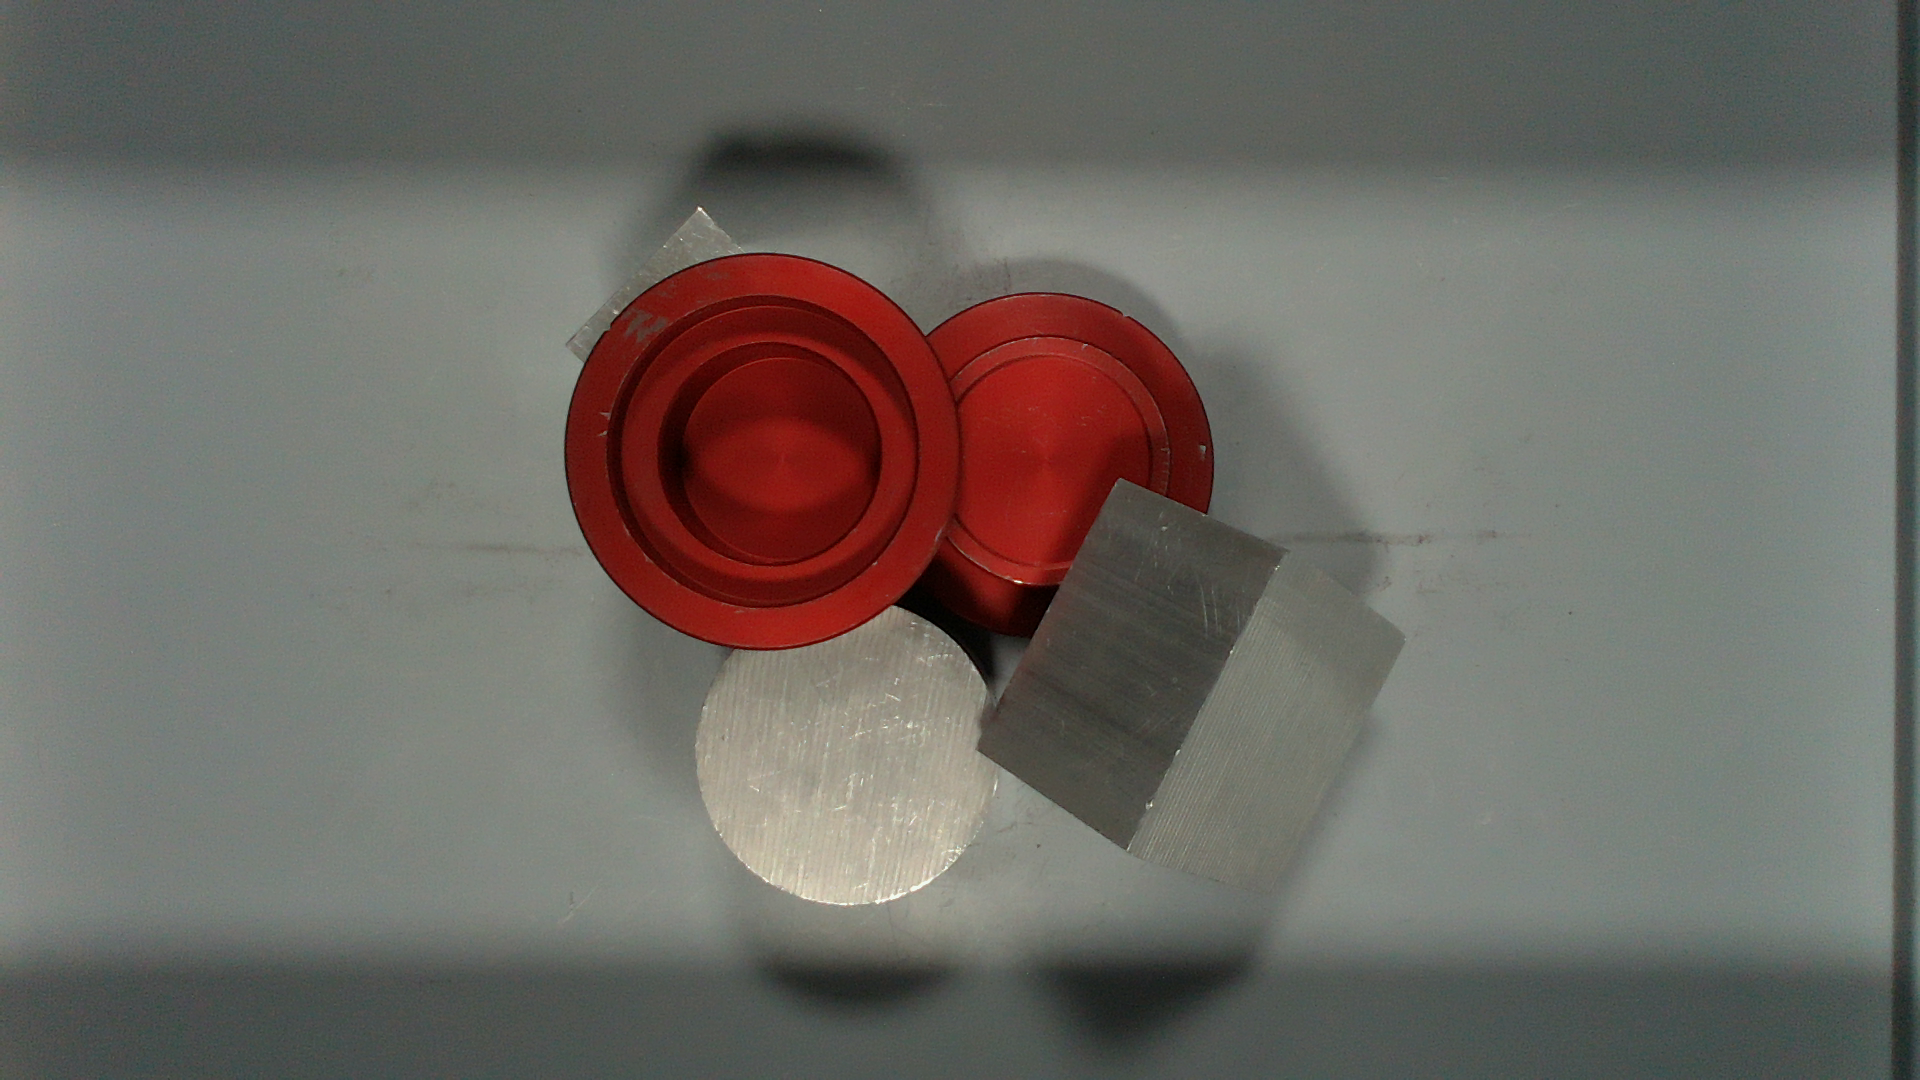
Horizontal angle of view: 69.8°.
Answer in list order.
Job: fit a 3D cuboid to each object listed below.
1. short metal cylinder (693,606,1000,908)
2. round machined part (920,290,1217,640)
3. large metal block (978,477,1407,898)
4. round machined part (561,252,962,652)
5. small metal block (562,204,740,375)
[{"bbox_3d":[-0.029,0.055,0.382,0.080,0.050,0.080,0,90,0],"label":"short metal cylinder"},{"bbox_3d":[0.023,-0.021,0.384,0.098,0.042,0.098,0,90,0],"label":"round machined part"},{"bbox_3d":[0.063,0.041,0.360,0.050,0.080,0.080,28,89,41],"label":"large metal block"},{"bbox_3d":[-0.048,-0.022,0.356,0.098,0.042,0.098,0,90,0],"label":"round machined part"},{"bbox_3d":[-0.076,-0.060,0.380,0.025,0.050,0.050,44,91,0],"label":"small metal block"}]
